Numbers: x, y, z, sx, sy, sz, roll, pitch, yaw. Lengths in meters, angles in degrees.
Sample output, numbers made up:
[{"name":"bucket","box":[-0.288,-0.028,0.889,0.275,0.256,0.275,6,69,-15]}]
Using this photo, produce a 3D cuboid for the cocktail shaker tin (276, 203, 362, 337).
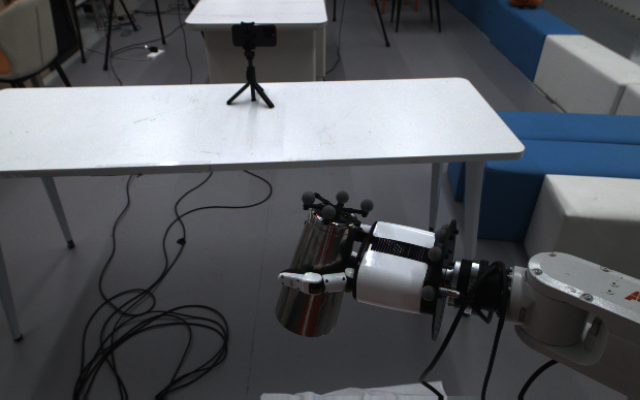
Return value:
[{"name":"cocktail shaker tin","box":[0.002,0.092,0.672,0.093,0.170,0.093,11,24,-5]}]
